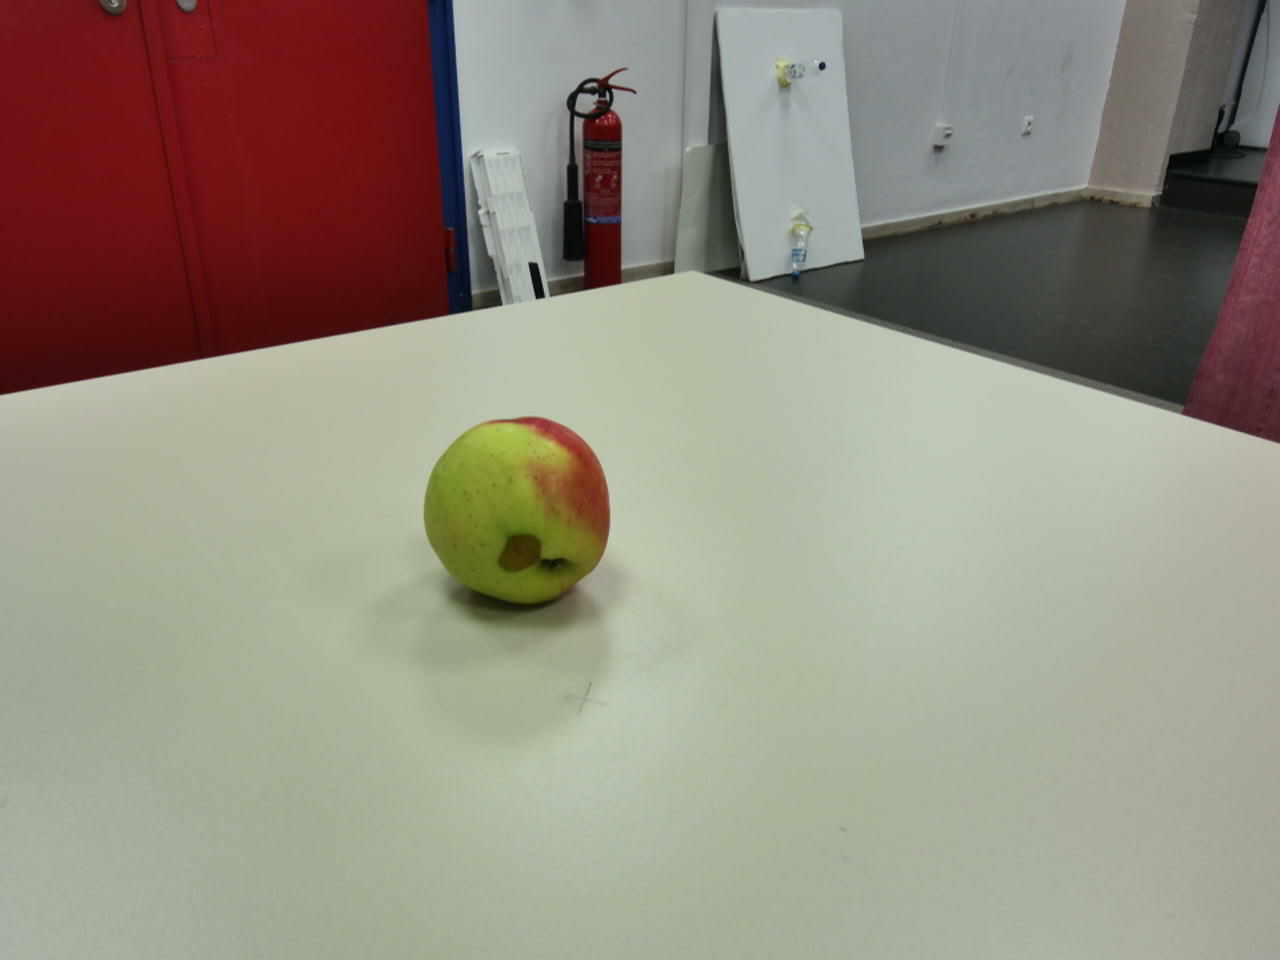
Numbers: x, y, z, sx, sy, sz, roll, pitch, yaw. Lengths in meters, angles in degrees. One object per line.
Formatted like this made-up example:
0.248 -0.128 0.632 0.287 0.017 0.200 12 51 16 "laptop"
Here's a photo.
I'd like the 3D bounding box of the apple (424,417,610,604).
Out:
-0.049 0.011 0.407 0.075 0.074 0.075 14 27 28 "apple"
